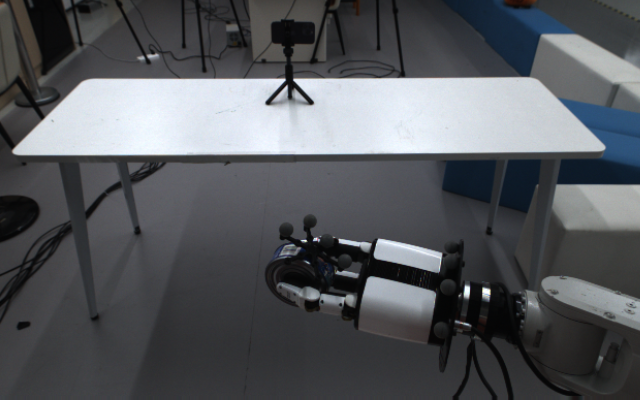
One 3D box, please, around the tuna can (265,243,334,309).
[{"bbox_3d":[-0.023,0.103,0.614,0.085,0.085,0.034,12,35,14],"label":"tuna can"}]
